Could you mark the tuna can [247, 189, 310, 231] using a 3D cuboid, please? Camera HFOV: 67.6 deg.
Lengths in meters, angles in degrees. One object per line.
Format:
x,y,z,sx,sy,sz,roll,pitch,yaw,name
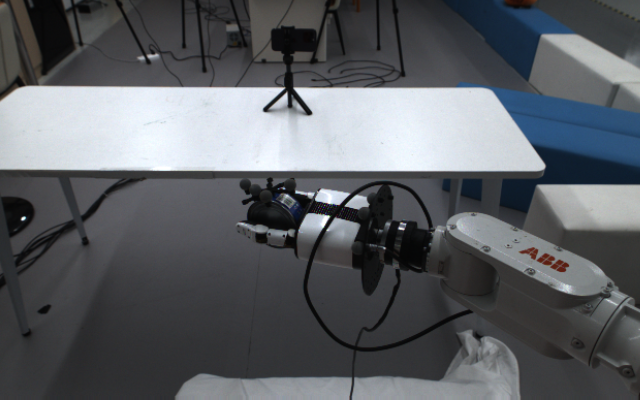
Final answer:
-0.063,0.029,0.729,0.085,0.085,0.034,17,36,20,tuna can
